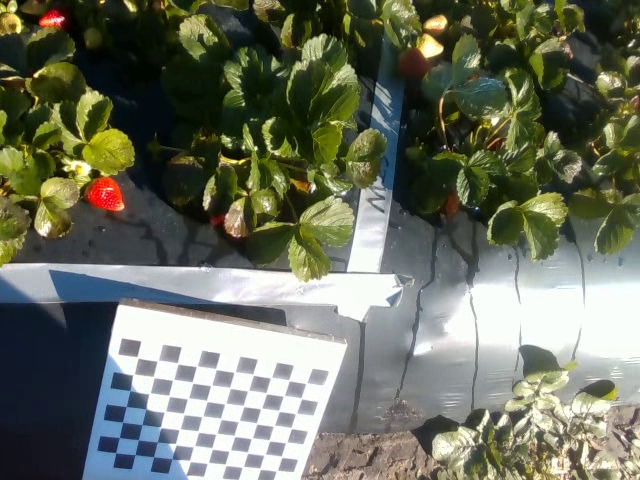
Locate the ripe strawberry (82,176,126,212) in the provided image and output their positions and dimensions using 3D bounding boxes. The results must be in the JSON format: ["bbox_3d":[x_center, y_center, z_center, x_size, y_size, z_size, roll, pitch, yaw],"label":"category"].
[{"bbox_3d":[-0.263,-0.054,0.811,0.058,0.046,0.042,44,10,-5],"label":"ripe strawberry"}]
